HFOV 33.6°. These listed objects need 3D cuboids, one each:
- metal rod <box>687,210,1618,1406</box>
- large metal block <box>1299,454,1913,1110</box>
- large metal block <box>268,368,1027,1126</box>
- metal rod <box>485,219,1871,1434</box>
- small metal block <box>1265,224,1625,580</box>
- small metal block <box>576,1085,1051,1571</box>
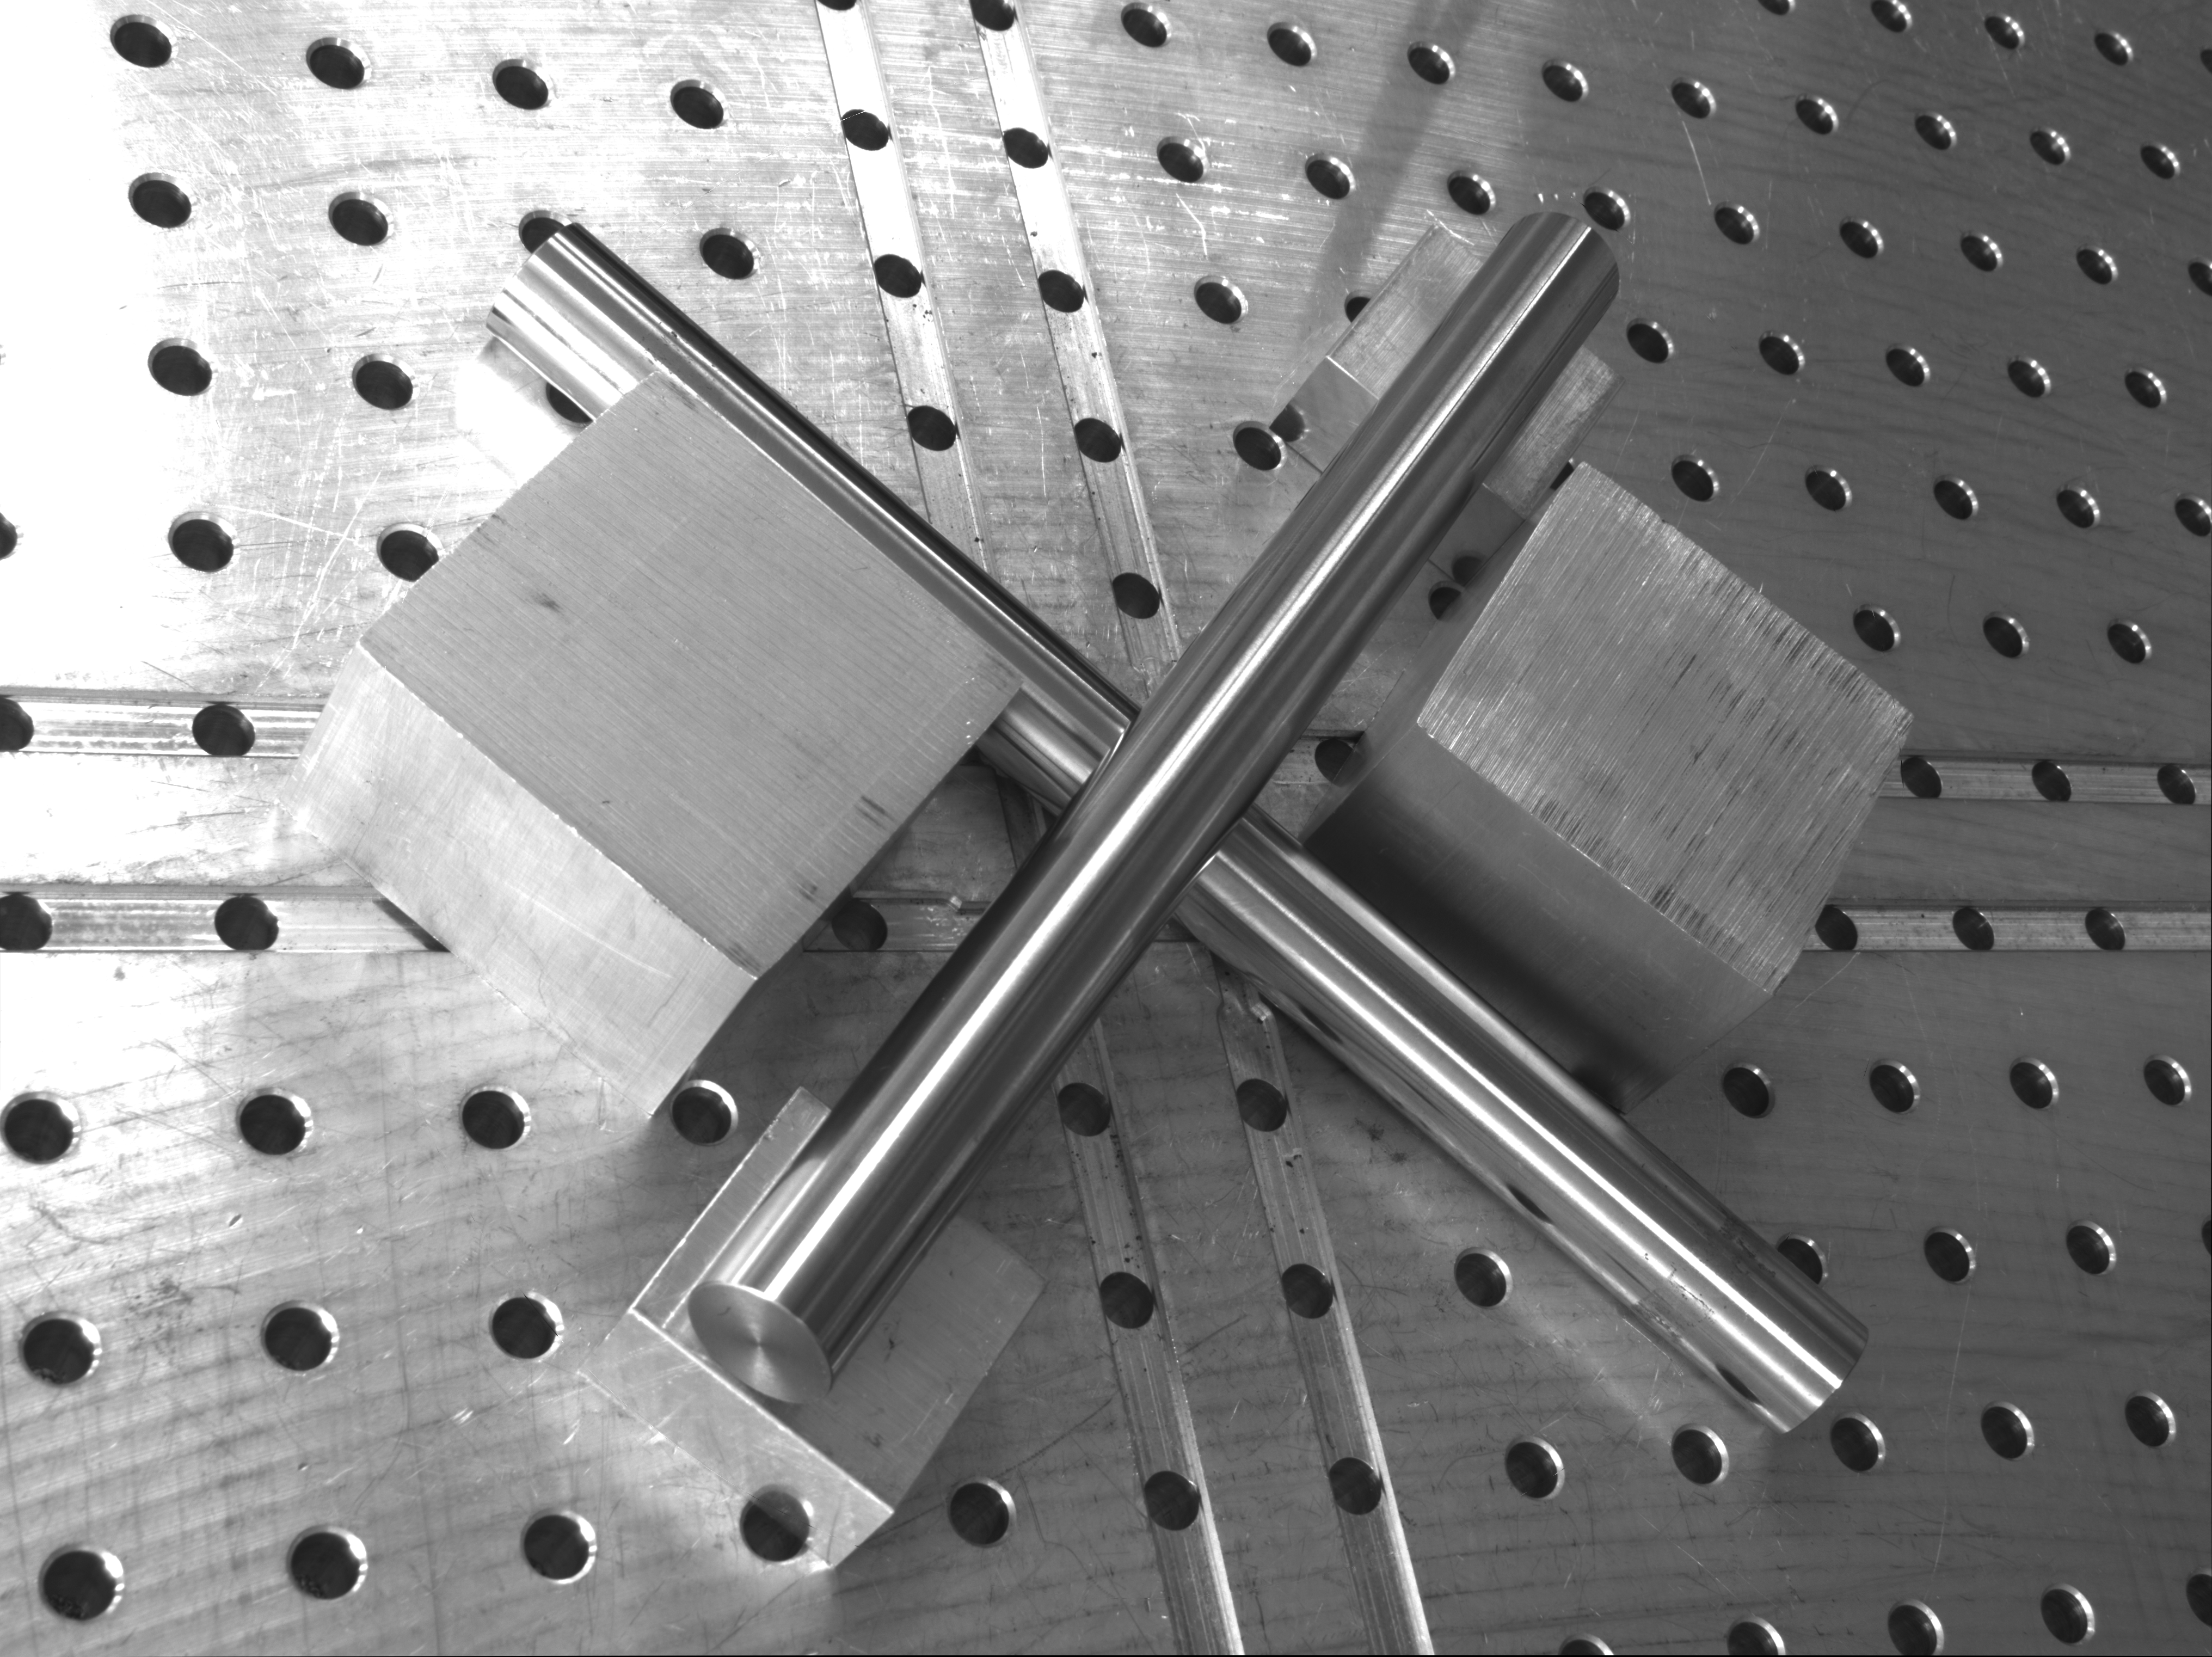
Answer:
[{"bbox_3d":[0.019,-0.018,0.630,0.025,0.025,0.301,39,51,-2],"label":"metal rod"},{"bbox_3d":[0.092,-0.008,0.680,0.080,0.050,0.080,37,51,-3],"label":"large metal block"},{"bbox_3d":[-0.074,-0.014,0.595,0.080,0.050,0.080,40,51,-1],"label":"large metal block"},{"bbox_3d":[0.013,0.000,0.648,0.300,0.025,0.025,41,51,-1],"label":"metal rod"},{"bbox_3d":[0.068,-0.084,0.730,0.050,0.025,0.050,39,51,-2],"label":"small metal block"},{"bbox_3d":[-0.045,0.077,0.570,0.050,0.025,0.050,38,51,-2],"label":"small metal block"}]
